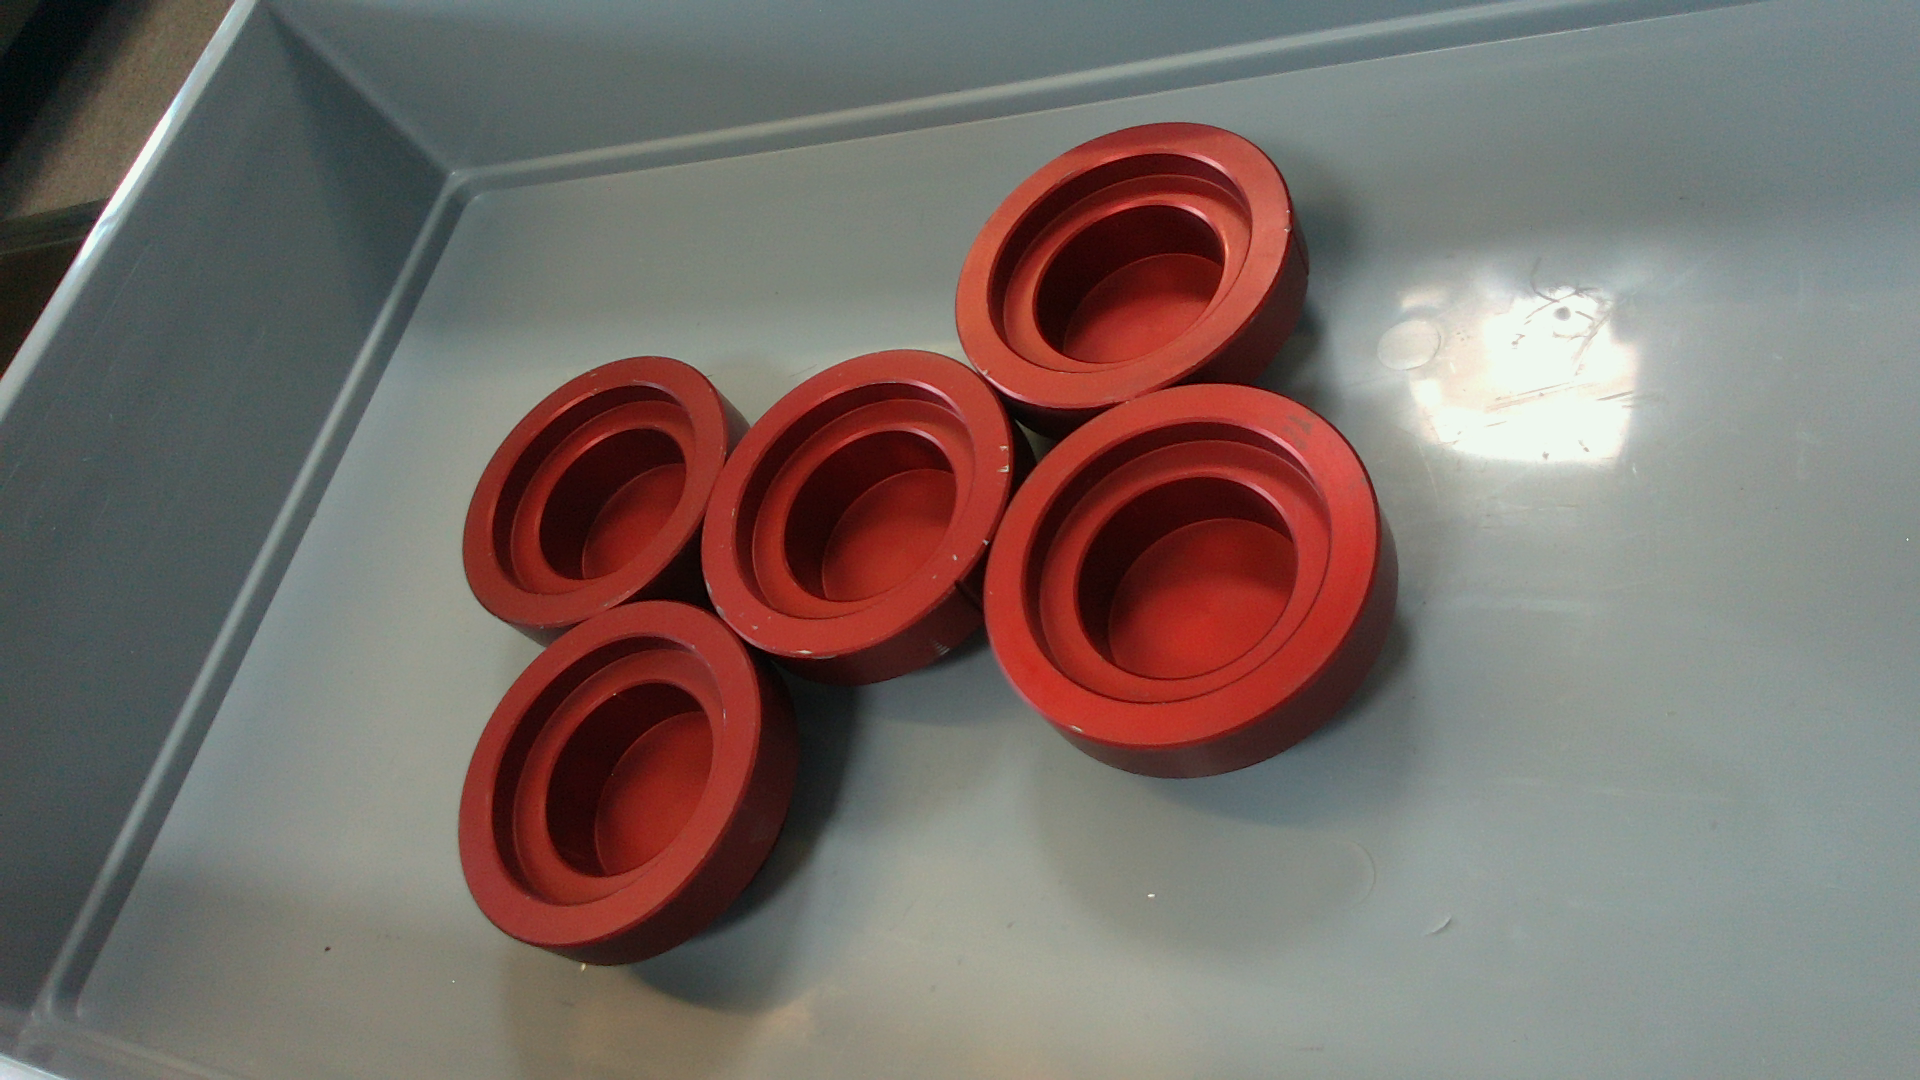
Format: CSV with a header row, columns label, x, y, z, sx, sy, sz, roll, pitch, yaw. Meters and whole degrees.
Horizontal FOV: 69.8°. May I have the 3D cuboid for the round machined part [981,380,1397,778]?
label,x,y,z,sx,sy,sz,roll,pitch,yaw
round machined part,0.058,0.012,0.341,0.098,0.042,0.098,-13,56,21

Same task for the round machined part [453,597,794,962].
label,x,y,z,sx,sy,sz,roll,pitch,yaw
round machined part,-0.088,0.069,0.385,0.098,0.042,0.098,-13,56,21

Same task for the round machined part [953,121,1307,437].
label,x,y,z,sx,sy,sz,roll,pitch,yaw
round machined part,0.051,-0.069,0.395,0.098,0.042,0.098,-13,56,21

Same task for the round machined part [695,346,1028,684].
label,x,y,z,sx,sy,sz,roll,pitch,yaw
round machined part,-0.023,-0.004,0.394,0.098,0.042,0.098,-13,56,21

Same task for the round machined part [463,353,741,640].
label,x,y,z,sx,sy,sz,roll,pitch,yaw
round machined part,-0.107,-0.008,0.443,0.098,0.042,0.098,-13,56,21
